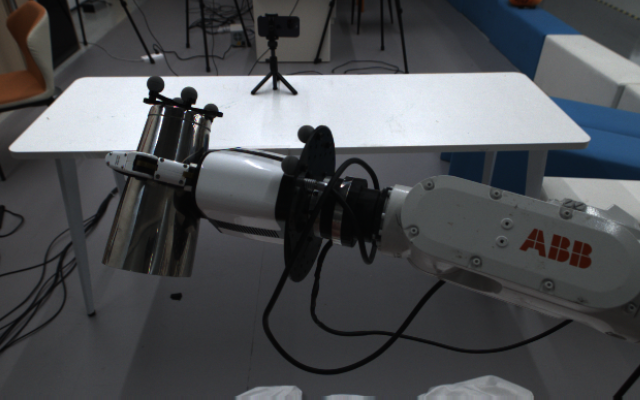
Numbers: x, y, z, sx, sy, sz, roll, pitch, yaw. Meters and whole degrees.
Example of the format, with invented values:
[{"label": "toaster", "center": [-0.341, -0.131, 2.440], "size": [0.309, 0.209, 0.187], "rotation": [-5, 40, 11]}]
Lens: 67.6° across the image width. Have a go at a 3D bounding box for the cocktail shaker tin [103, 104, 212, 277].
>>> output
[{"label": "cocktail shaker tin", "center": [-0.165, -0.008, 0.520], "size": [0.093, 0.170, 0.093], "rotation": [10, -5, 1]}]
